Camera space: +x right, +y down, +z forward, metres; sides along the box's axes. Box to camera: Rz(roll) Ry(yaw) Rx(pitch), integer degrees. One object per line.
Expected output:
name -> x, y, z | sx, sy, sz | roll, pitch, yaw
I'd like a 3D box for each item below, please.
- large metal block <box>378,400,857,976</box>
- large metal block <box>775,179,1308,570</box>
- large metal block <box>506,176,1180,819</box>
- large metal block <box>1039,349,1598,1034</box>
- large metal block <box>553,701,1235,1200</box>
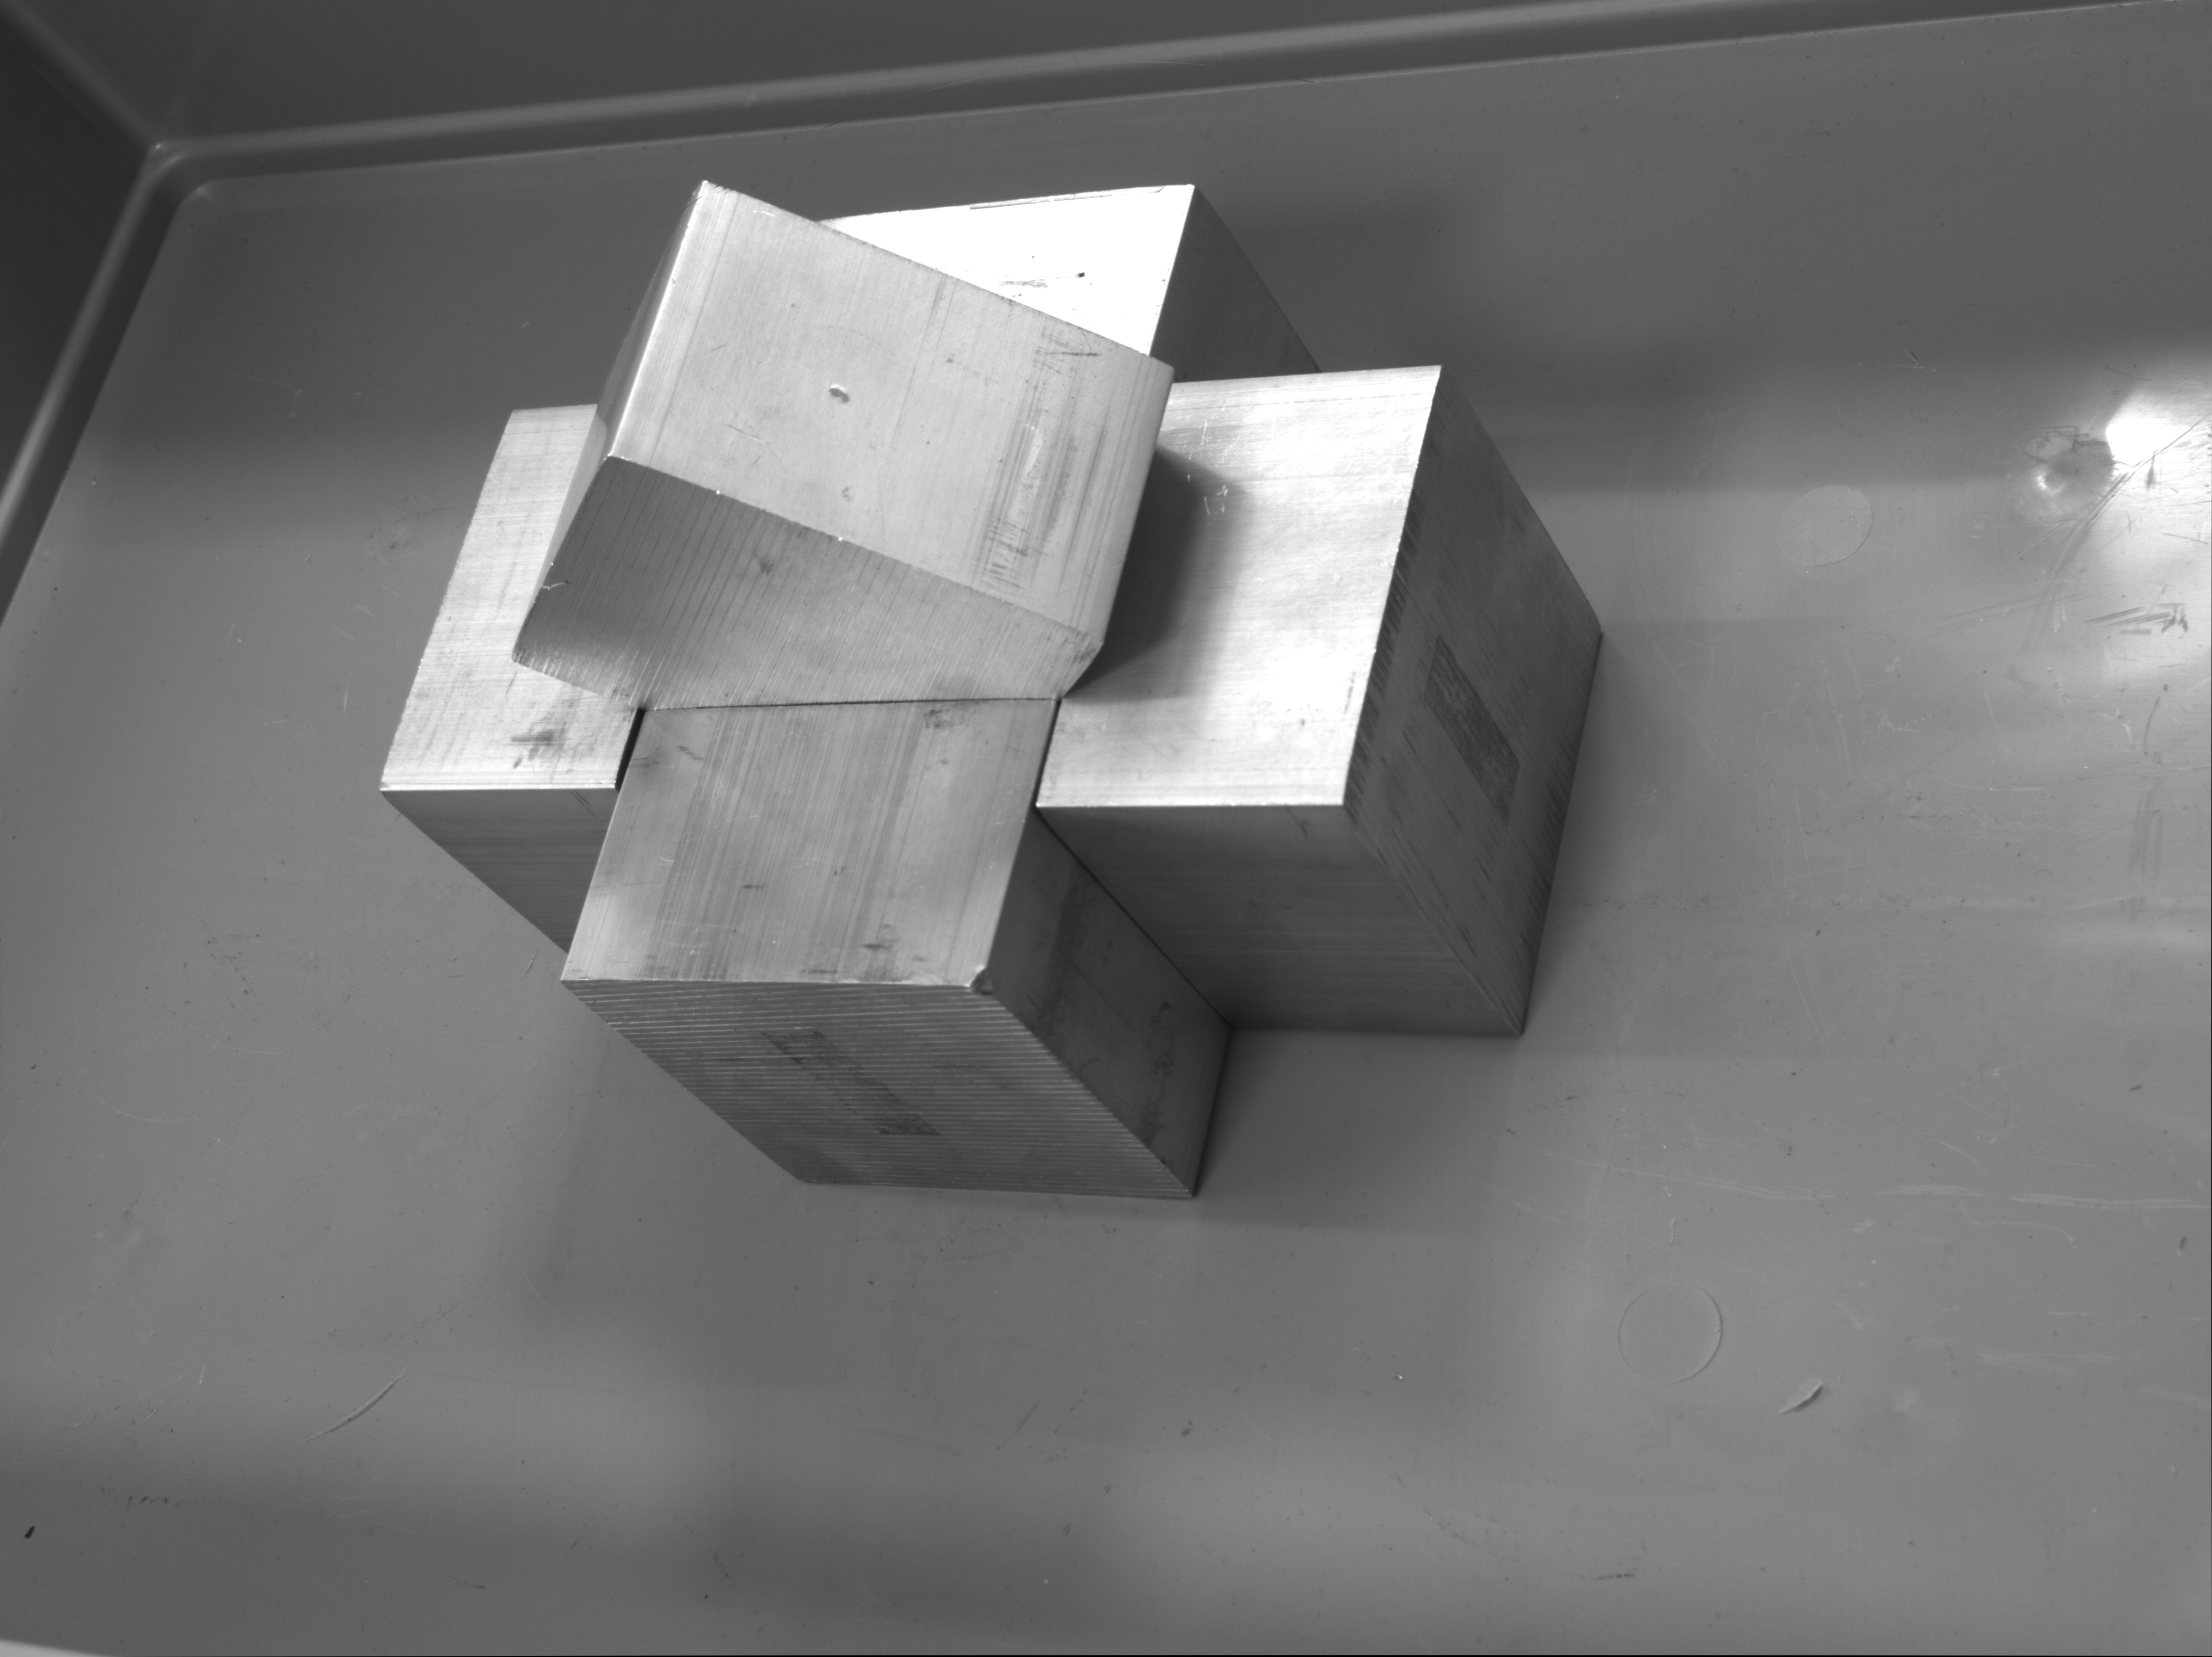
large metal block -> -0.077, -0.022, 0.664 | 0.050, 0.080, 0.080 | 0, 61, 29
large metal block -> -0.008, -0.068, 0.655 | 0.080, 0.080, 0.050 | 0, 61, 28
large metal block -> -0.044, -0.050, 0.589 | 0.080, 0.080, 0.050 | 20, 64, -12
large metal block -> 0.037, -0.021, 0.598 | 0.050, 0.080, 0.080 | 0, 62, 28
large metal block -> -0.031, 0.021, 0.612 | 0.080, 0.080, 0.050 | 0, 61, 28
